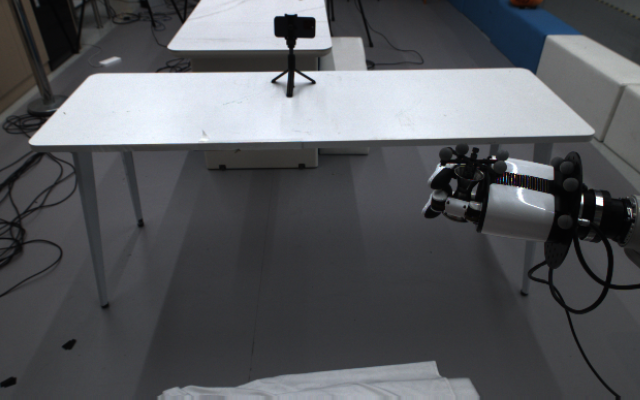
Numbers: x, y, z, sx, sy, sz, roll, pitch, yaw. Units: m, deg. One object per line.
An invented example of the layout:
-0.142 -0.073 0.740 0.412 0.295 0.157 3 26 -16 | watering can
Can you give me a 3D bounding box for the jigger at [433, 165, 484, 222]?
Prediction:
0.203 -0.010 0.681 0.043 0.071 0.043 4 31 -2 | jigger
